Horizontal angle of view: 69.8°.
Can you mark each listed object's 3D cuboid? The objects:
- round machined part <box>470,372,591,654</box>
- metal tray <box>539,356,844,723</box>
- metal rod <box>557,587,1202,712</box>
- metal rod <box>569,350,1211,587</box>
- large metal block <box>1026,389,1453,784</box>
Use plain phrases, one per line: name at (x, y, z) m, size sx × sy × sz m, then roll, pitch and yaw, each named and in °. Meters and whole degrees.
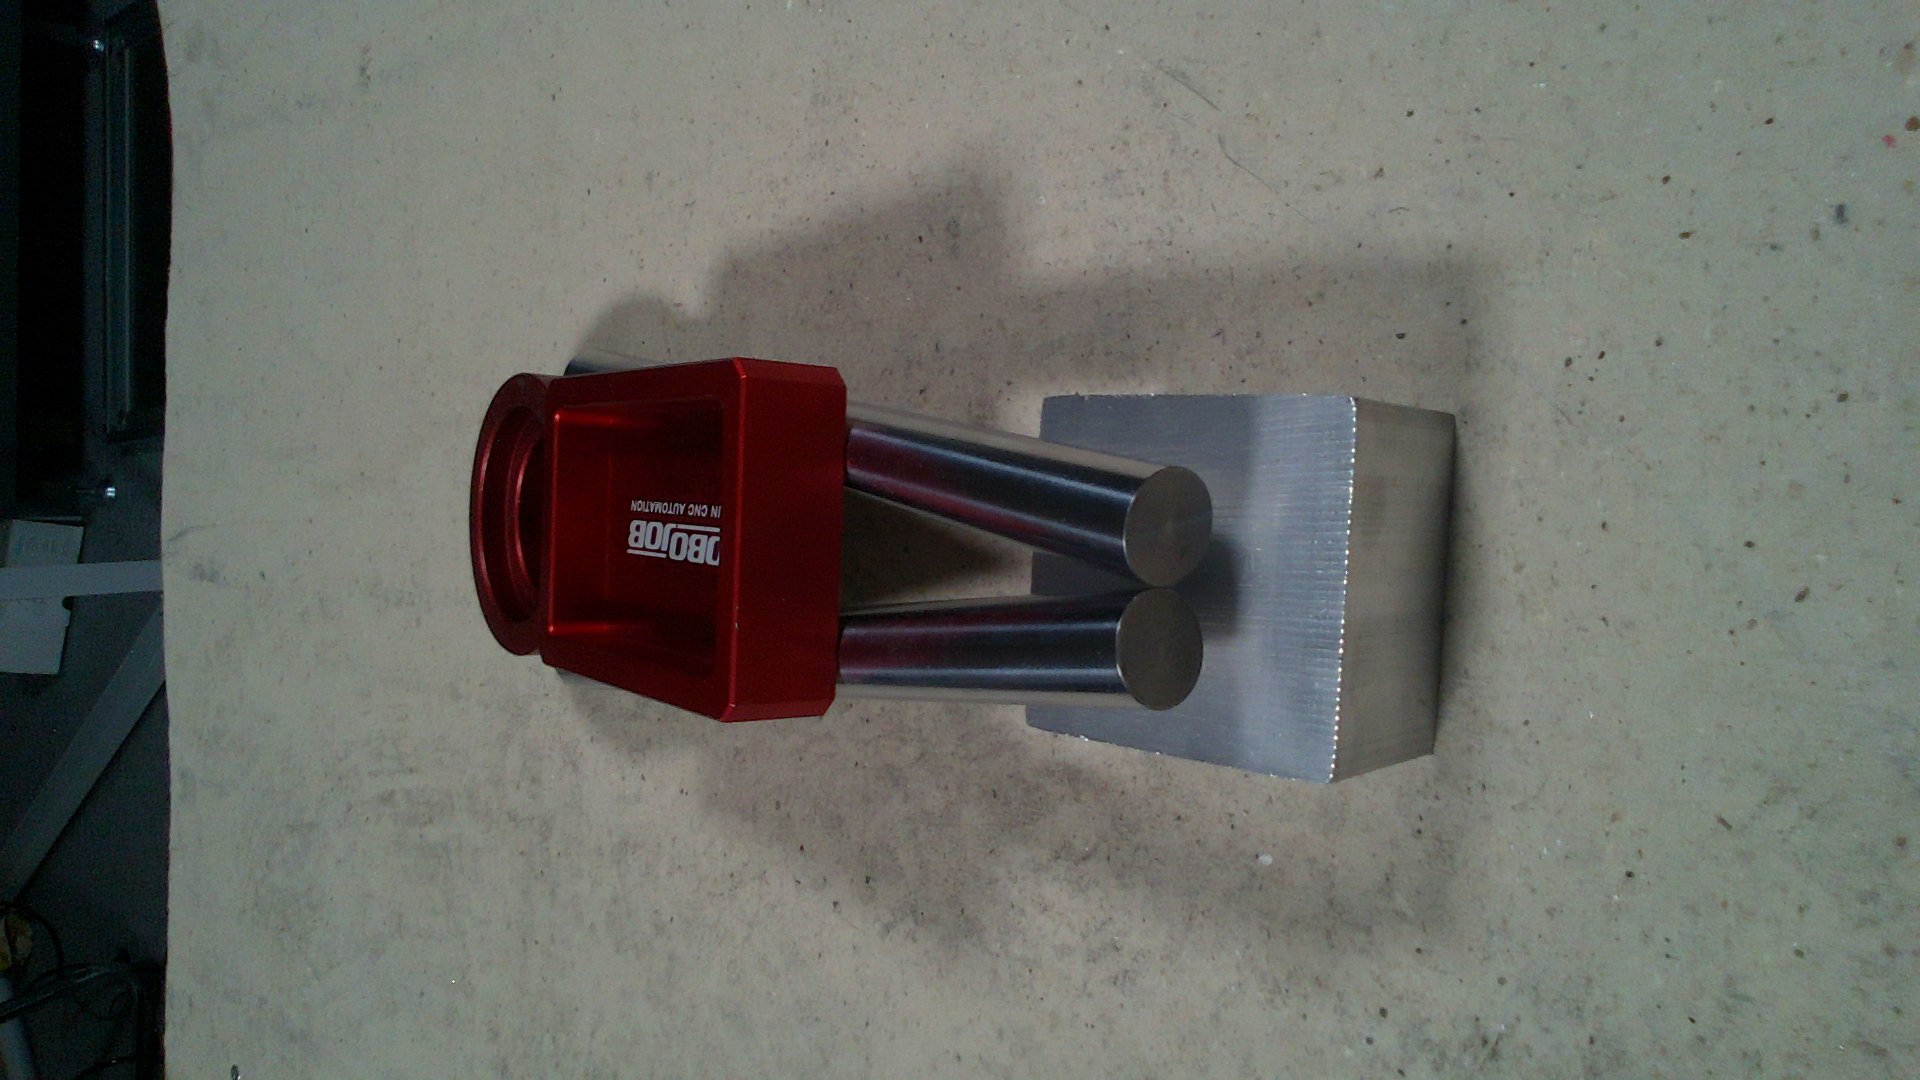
round machined part at (-0.138, -0.009, 0.492) m, size 0.098 × 0.042 × 0.098 m, roll -1°, pitch 89°, yaw 51°
metal tray at (-0.081, -0.003, 0.392) m, size 0.129 × 0.030 × 0.090 m, roll 5°, pitch 93°, yaw 53°
metal rod at (-0.050, 0.033, 0.395) m, size 0.299 × 0.025 × 0.025 m, roll -7°, pitch 85°, yaw 53°
metal rod at (-0.047, -0.030, 0.392) m, size 0.299 × 0.025 × 0.025 m, roll 17°, pitch 102°, yaw 52°
large metal block at (0.064, 0.007, 0.322) m, size 0.080 × 0.050 × 0.080 m, roll 5°, pitch 93°, yaw 40°
